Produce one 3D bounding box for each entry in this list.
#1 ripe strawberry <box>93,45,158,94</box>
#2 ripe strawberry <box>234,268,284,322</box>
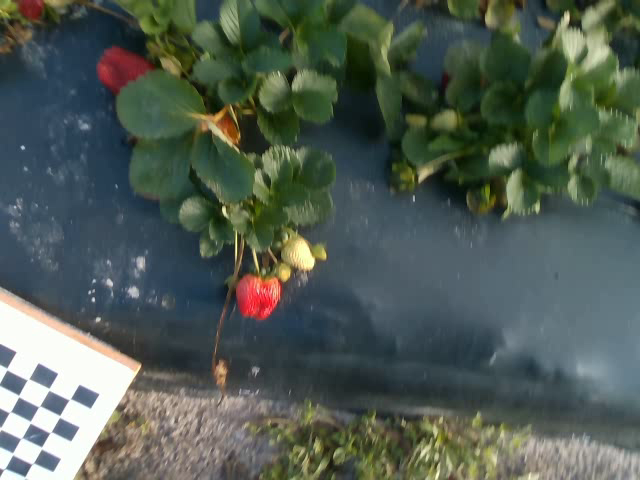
[{"bbox_3d":[-0.219,-0.191,0.748,0.070,0.058,0.057,34,15,-38],"label":"ripe strawberry"},{"bbox_3d":[-0.062,0.063,0.736,0.047,0.050,0.035,11,12,-5],"label":"ripe strawberry"}]
